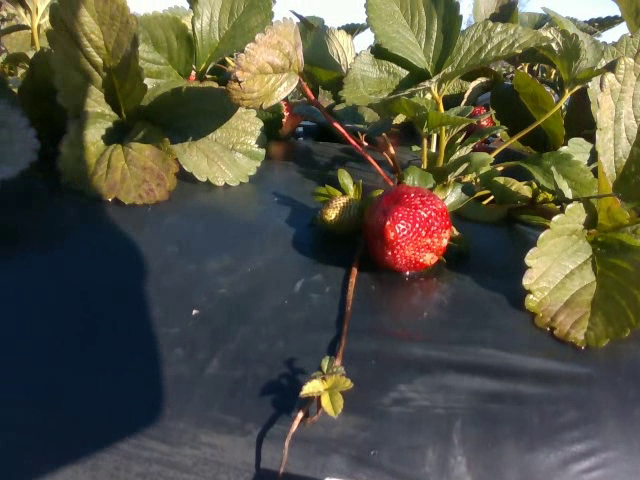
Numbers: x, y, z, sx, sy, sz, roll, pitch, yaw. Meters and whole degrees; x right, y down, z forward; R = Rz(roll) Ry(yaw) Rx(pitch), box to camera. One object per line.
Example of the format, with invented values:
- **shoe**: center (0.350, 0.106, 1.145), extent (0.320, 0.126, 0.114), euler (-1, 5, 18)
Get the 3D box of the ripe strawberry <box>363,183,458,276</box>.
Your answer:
- **ripe strawberry**: center (0.034, -0.004, 0.237), extent (0.041, 0.043, 0.053), euler (20, 10, 11)
